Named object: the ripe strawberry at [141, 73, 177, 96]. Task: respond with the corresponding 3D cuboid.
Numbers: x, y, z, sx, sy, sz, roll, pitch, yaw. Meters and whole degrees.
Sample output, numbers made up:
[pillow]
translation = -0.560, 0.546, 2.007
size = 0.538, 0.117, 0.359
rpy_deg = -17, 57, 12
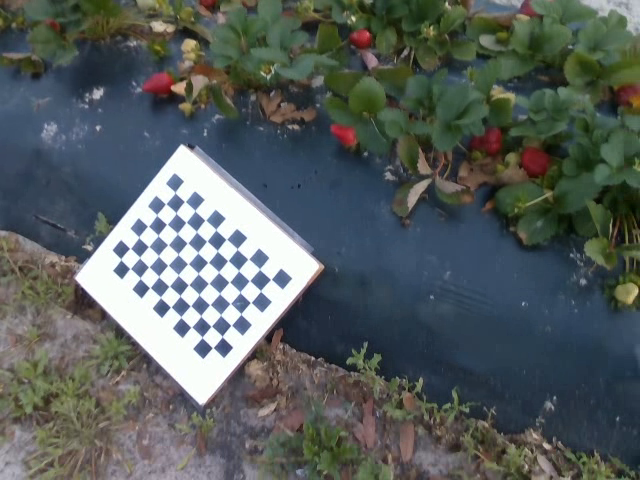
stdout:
[ripe strawberry]
translation = -0.265, -0.256, 1.100
size = 0.050, 0.034, 0.059
rpy_deg = 29, 42, 19
